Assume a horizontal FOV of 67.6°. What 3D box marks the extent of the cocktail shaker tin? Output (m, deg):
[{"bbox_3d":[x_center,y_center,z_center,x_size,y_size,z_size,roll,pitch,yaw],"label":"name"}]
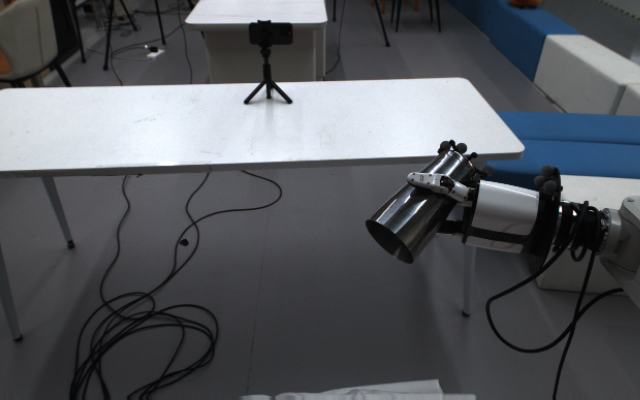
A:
[{"bbox_3d":[0.159,-0.001,0.735,0.170,0.093,0.093,-43,50,-14],"label":"cocktail shaker tin"}]
